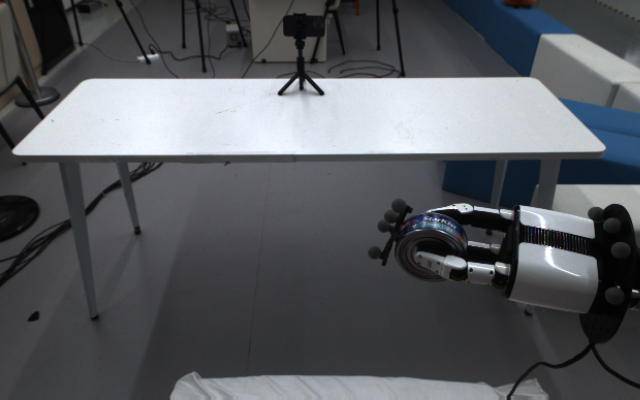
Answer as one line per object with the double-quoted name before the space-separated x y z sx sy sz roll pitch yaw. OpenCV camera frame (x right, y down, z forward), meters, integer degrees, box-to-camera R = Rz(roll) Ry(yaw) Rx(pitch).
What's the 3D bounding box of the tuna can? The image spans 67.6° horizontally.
"tuna can" 0.138 0.056 0.592 0.085 0.085 0.034 9 34 9
